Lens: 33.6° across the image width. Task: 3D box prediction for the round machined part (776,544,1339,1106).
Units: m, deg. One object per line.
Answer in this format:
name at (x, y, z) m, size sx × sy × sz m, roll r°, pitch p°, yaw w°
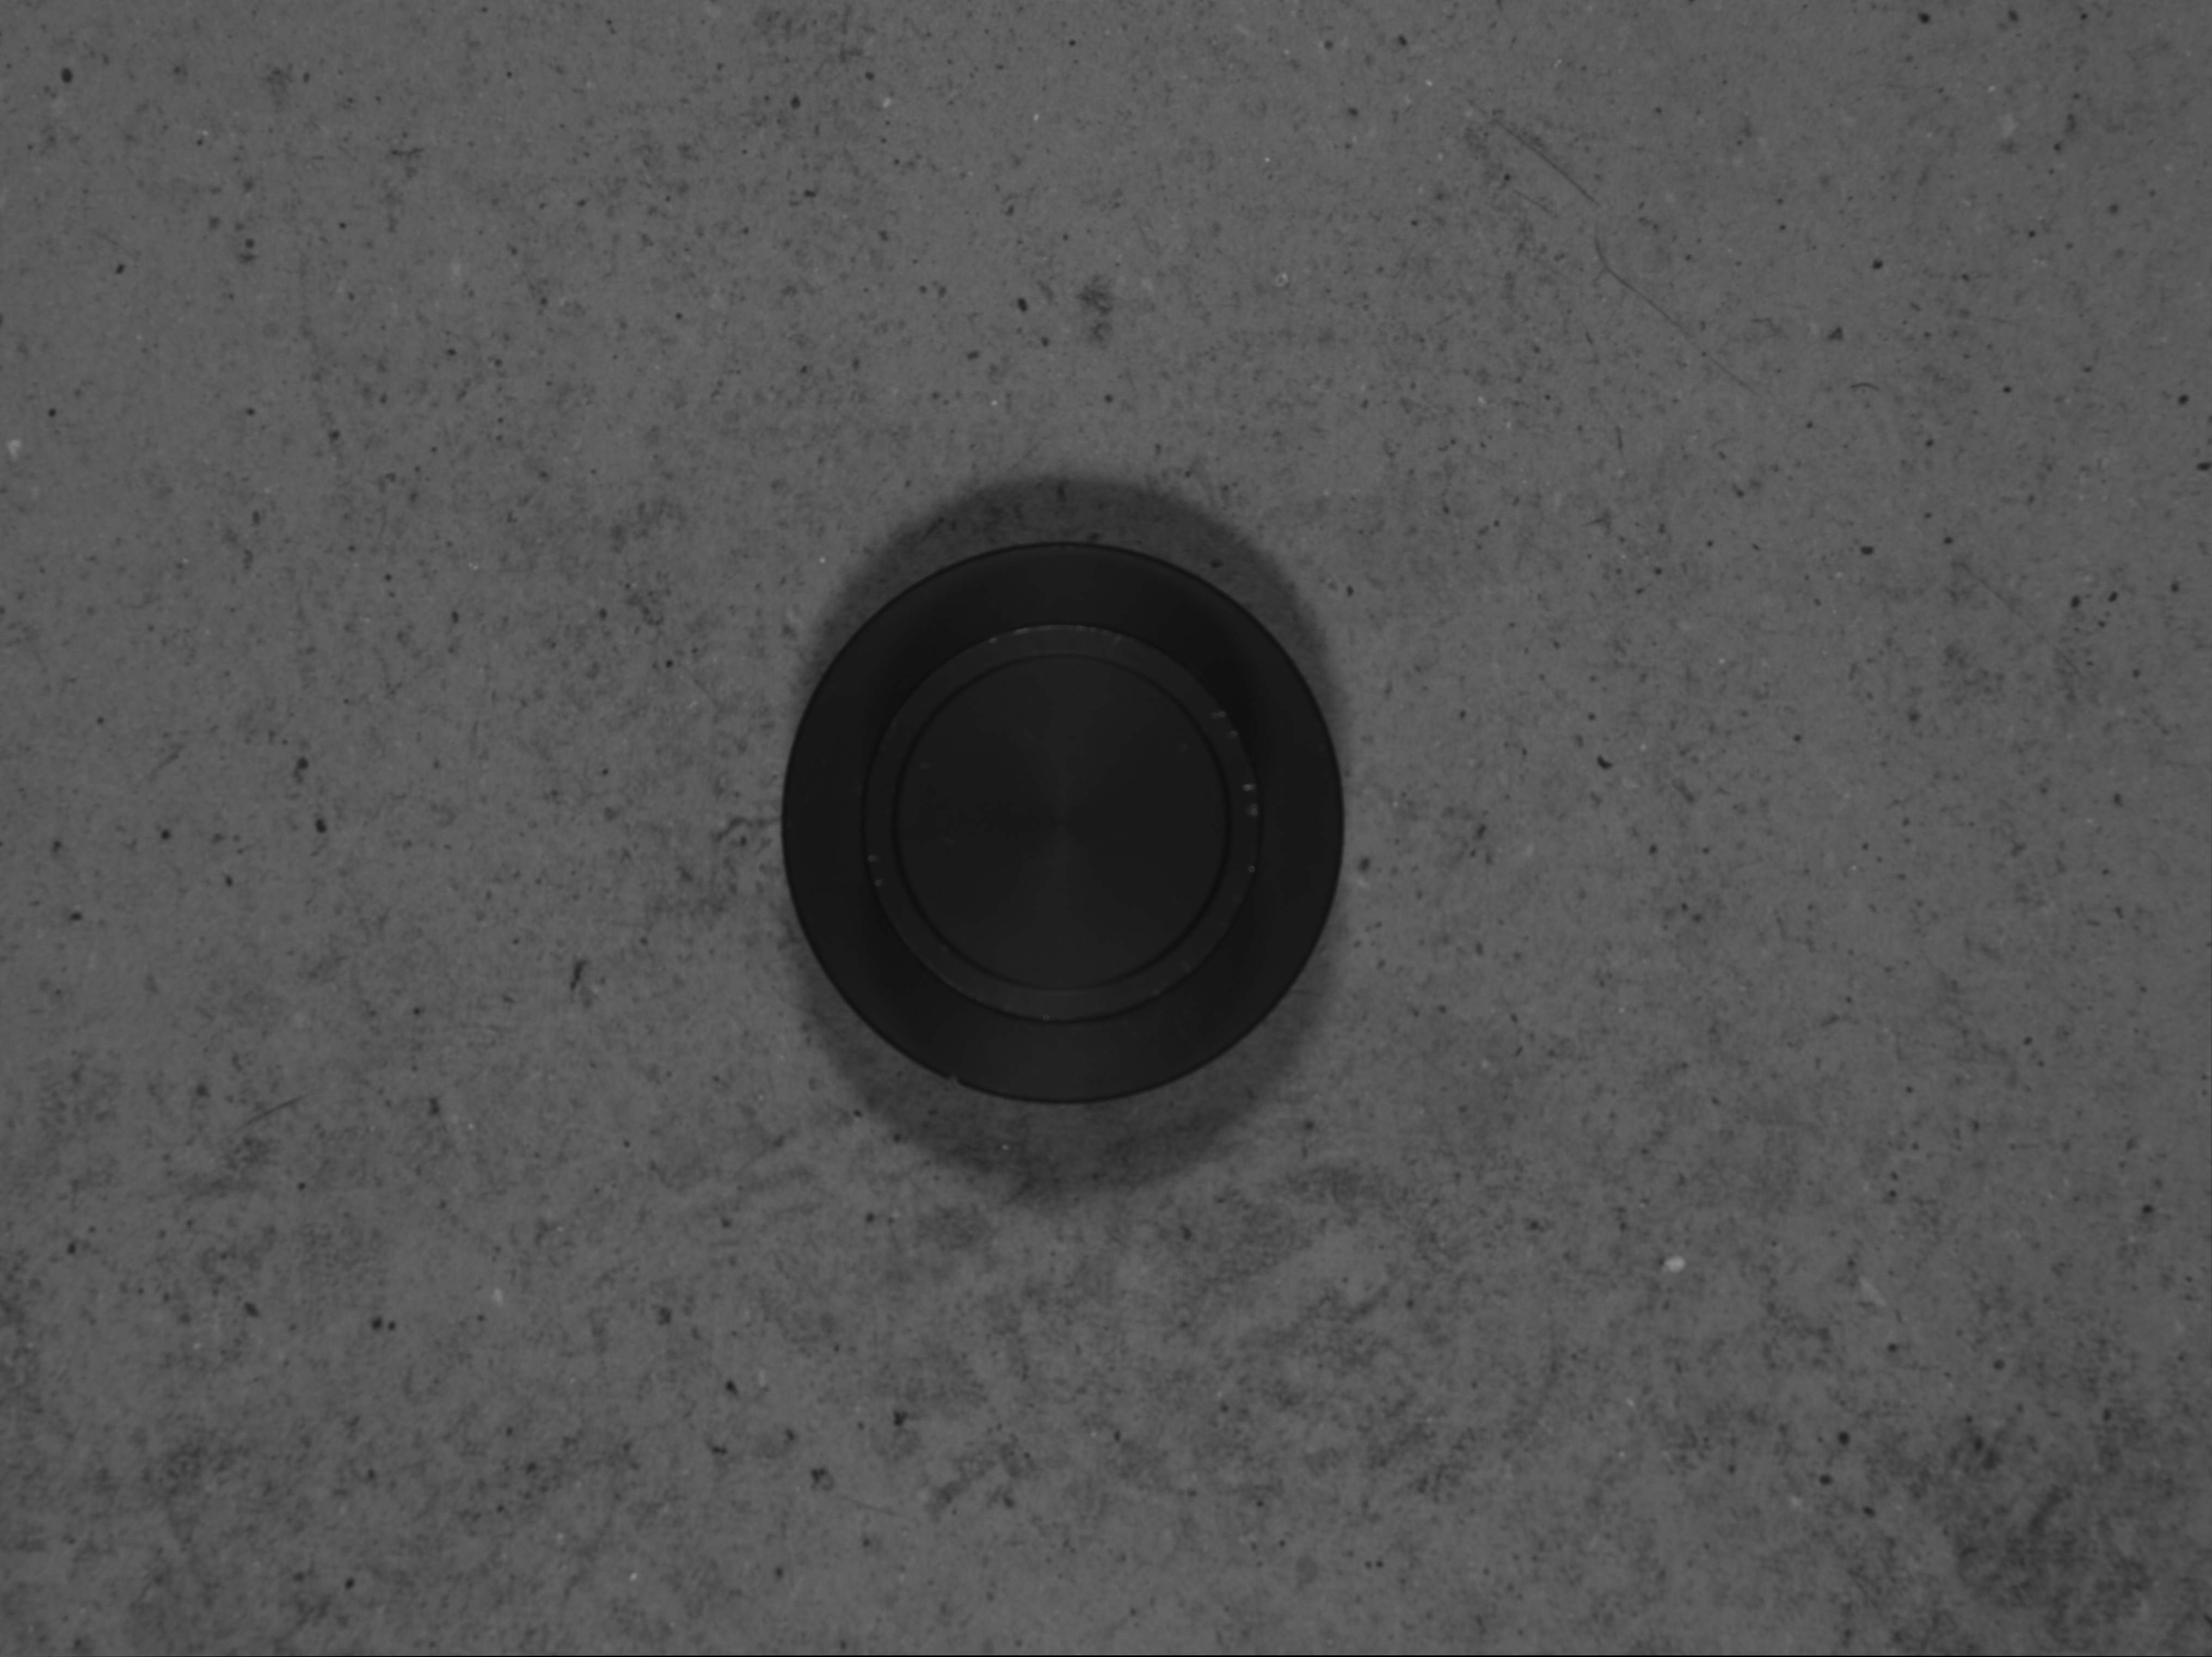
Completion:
round machined part at (-0.008, -0.001, 0.636) m, size 0.098 × 0.042 × 0.098 m, roll 0°, pitch 90°, yaw 0°
